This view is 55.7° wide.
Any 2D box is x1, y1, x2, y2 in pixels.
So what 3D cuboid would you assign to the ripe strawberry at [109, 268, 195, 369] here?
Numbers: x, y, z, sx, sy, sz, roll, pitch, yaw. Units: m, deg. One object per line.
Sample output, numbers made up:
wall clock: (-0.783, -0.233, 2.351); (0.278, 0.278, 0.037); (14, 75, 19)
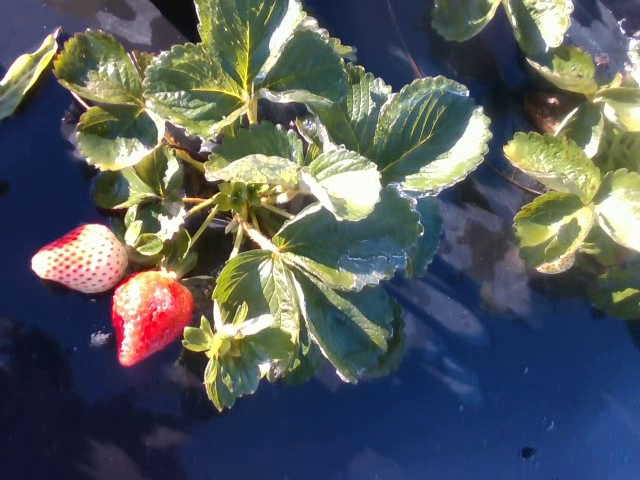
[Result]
ripe strawberry: (-0.079, 0.038, 0.271); (0.040, 0.038, 0.056); (6, 32, 10)
